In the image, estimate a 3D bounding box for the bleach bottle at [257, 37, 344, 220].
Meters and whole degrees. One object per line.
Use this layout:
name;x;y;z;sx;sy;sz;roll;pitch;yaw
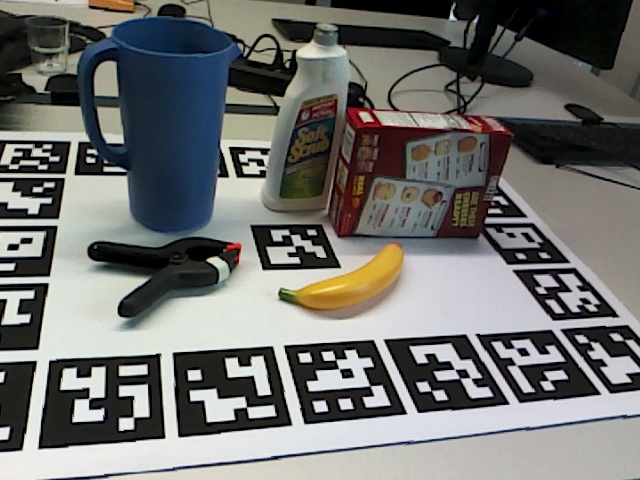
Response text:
bleach bottle;-0.026;-0.150;0.852;0.102;0.250;0.068;-2;33;-17

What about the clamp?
clamp;-0.165;0.037;0.719;0.164;0.036;0.123;-11;36;-31

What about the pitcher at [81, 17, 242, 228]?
pitcher;-0.192;-0.139;0.756;0.188;0.242;0.134;-11;37;-34

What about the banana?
banana;0.051;0.052;0.766;0.075;0.039;0.196;30;38;30

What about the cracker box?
cracker box;0.137;-0.089;0.850;0.213;0.164;0.072;-2;31;-14
